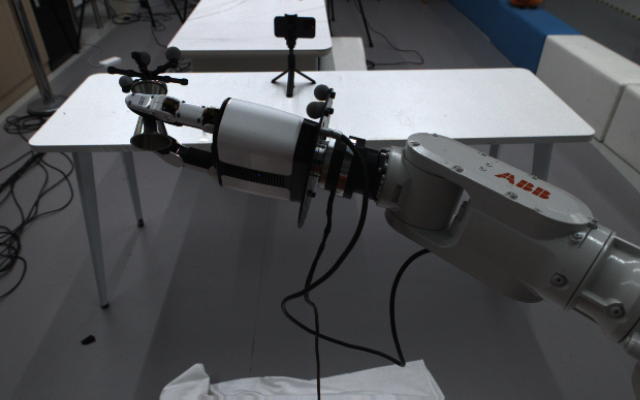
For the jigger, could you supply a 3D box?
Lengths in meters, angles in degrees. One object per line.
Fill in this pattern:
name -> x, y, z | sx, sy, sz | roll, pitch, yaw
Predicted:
jigger -> -0.192, -0.095, 0.548 | 0.043, 0.043, 0.071 | -5, 73, -10
